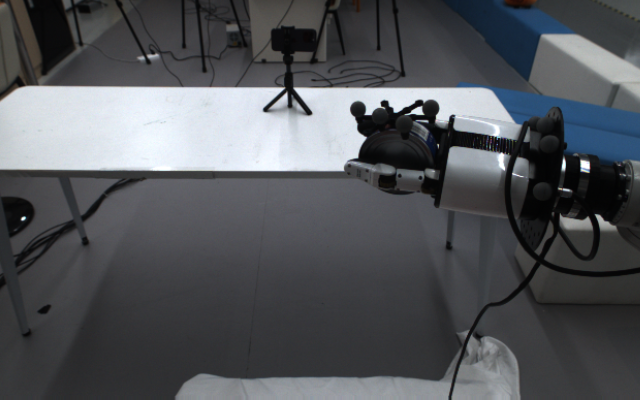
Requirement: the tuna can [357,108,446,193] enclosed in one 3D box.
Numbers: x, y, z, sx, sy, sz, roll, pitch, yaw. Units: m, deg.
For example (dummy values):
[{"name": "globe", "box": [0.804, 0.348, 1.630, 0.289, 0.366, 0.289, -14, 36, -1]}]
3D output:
[{"name": "tuna can", "box": [0.091, -0.052, 0.553, 0.085, 0.085, 0.034, 14, 41, 16]}]
